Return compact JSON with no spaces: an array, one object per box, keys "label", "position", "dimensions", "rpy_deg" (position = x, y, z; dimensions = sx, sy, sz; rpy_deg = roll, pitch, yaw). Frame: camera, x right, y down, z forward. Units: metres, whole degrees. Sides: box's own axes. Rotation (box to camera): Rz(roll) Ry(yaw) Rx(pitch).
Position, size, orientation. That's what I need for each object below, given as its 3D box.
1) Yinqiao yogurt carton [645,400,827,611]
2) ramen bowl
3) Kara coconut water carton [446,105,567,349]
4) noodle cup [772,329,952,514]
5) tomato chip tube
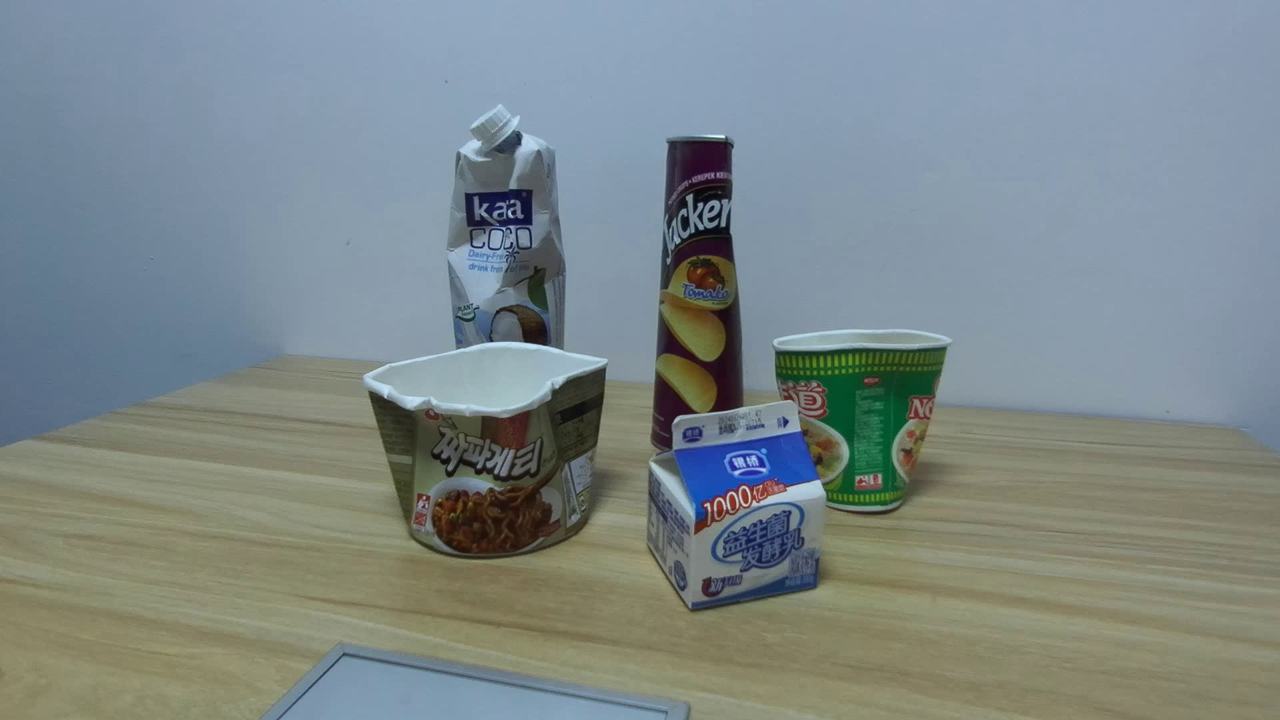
[{"label":"Yinqiao yogurt carton","position":[0.049,0.068,0.376],"dimensions":[0.076,0.092,0.073],"rpy_deg":[-5,16,-17]},{"label":"ramen bowl","position":[-0.097,0.050,0.436],"dimensions":[0.133,0.097,0.114],"rpy_deg":[6,18,16]},{"label":"Kara coconut water carton","position":[-0.106,-0.064,0.557],"dimensions":[0.083,0.255,0.078],"rpy_deg":[6,18,17]},{"label":"noodle cup","position":[0.145,0.035,0.466],"dimensions":[0.115,0.111,0.070],"rpy_deg":[3,18,11]},{"label":"tomato chip tube","position":[0.049,-0.048,0.543],"dimensions":[0.076,0.235,0.078],"rpy_deg":[10,16,33]}]
